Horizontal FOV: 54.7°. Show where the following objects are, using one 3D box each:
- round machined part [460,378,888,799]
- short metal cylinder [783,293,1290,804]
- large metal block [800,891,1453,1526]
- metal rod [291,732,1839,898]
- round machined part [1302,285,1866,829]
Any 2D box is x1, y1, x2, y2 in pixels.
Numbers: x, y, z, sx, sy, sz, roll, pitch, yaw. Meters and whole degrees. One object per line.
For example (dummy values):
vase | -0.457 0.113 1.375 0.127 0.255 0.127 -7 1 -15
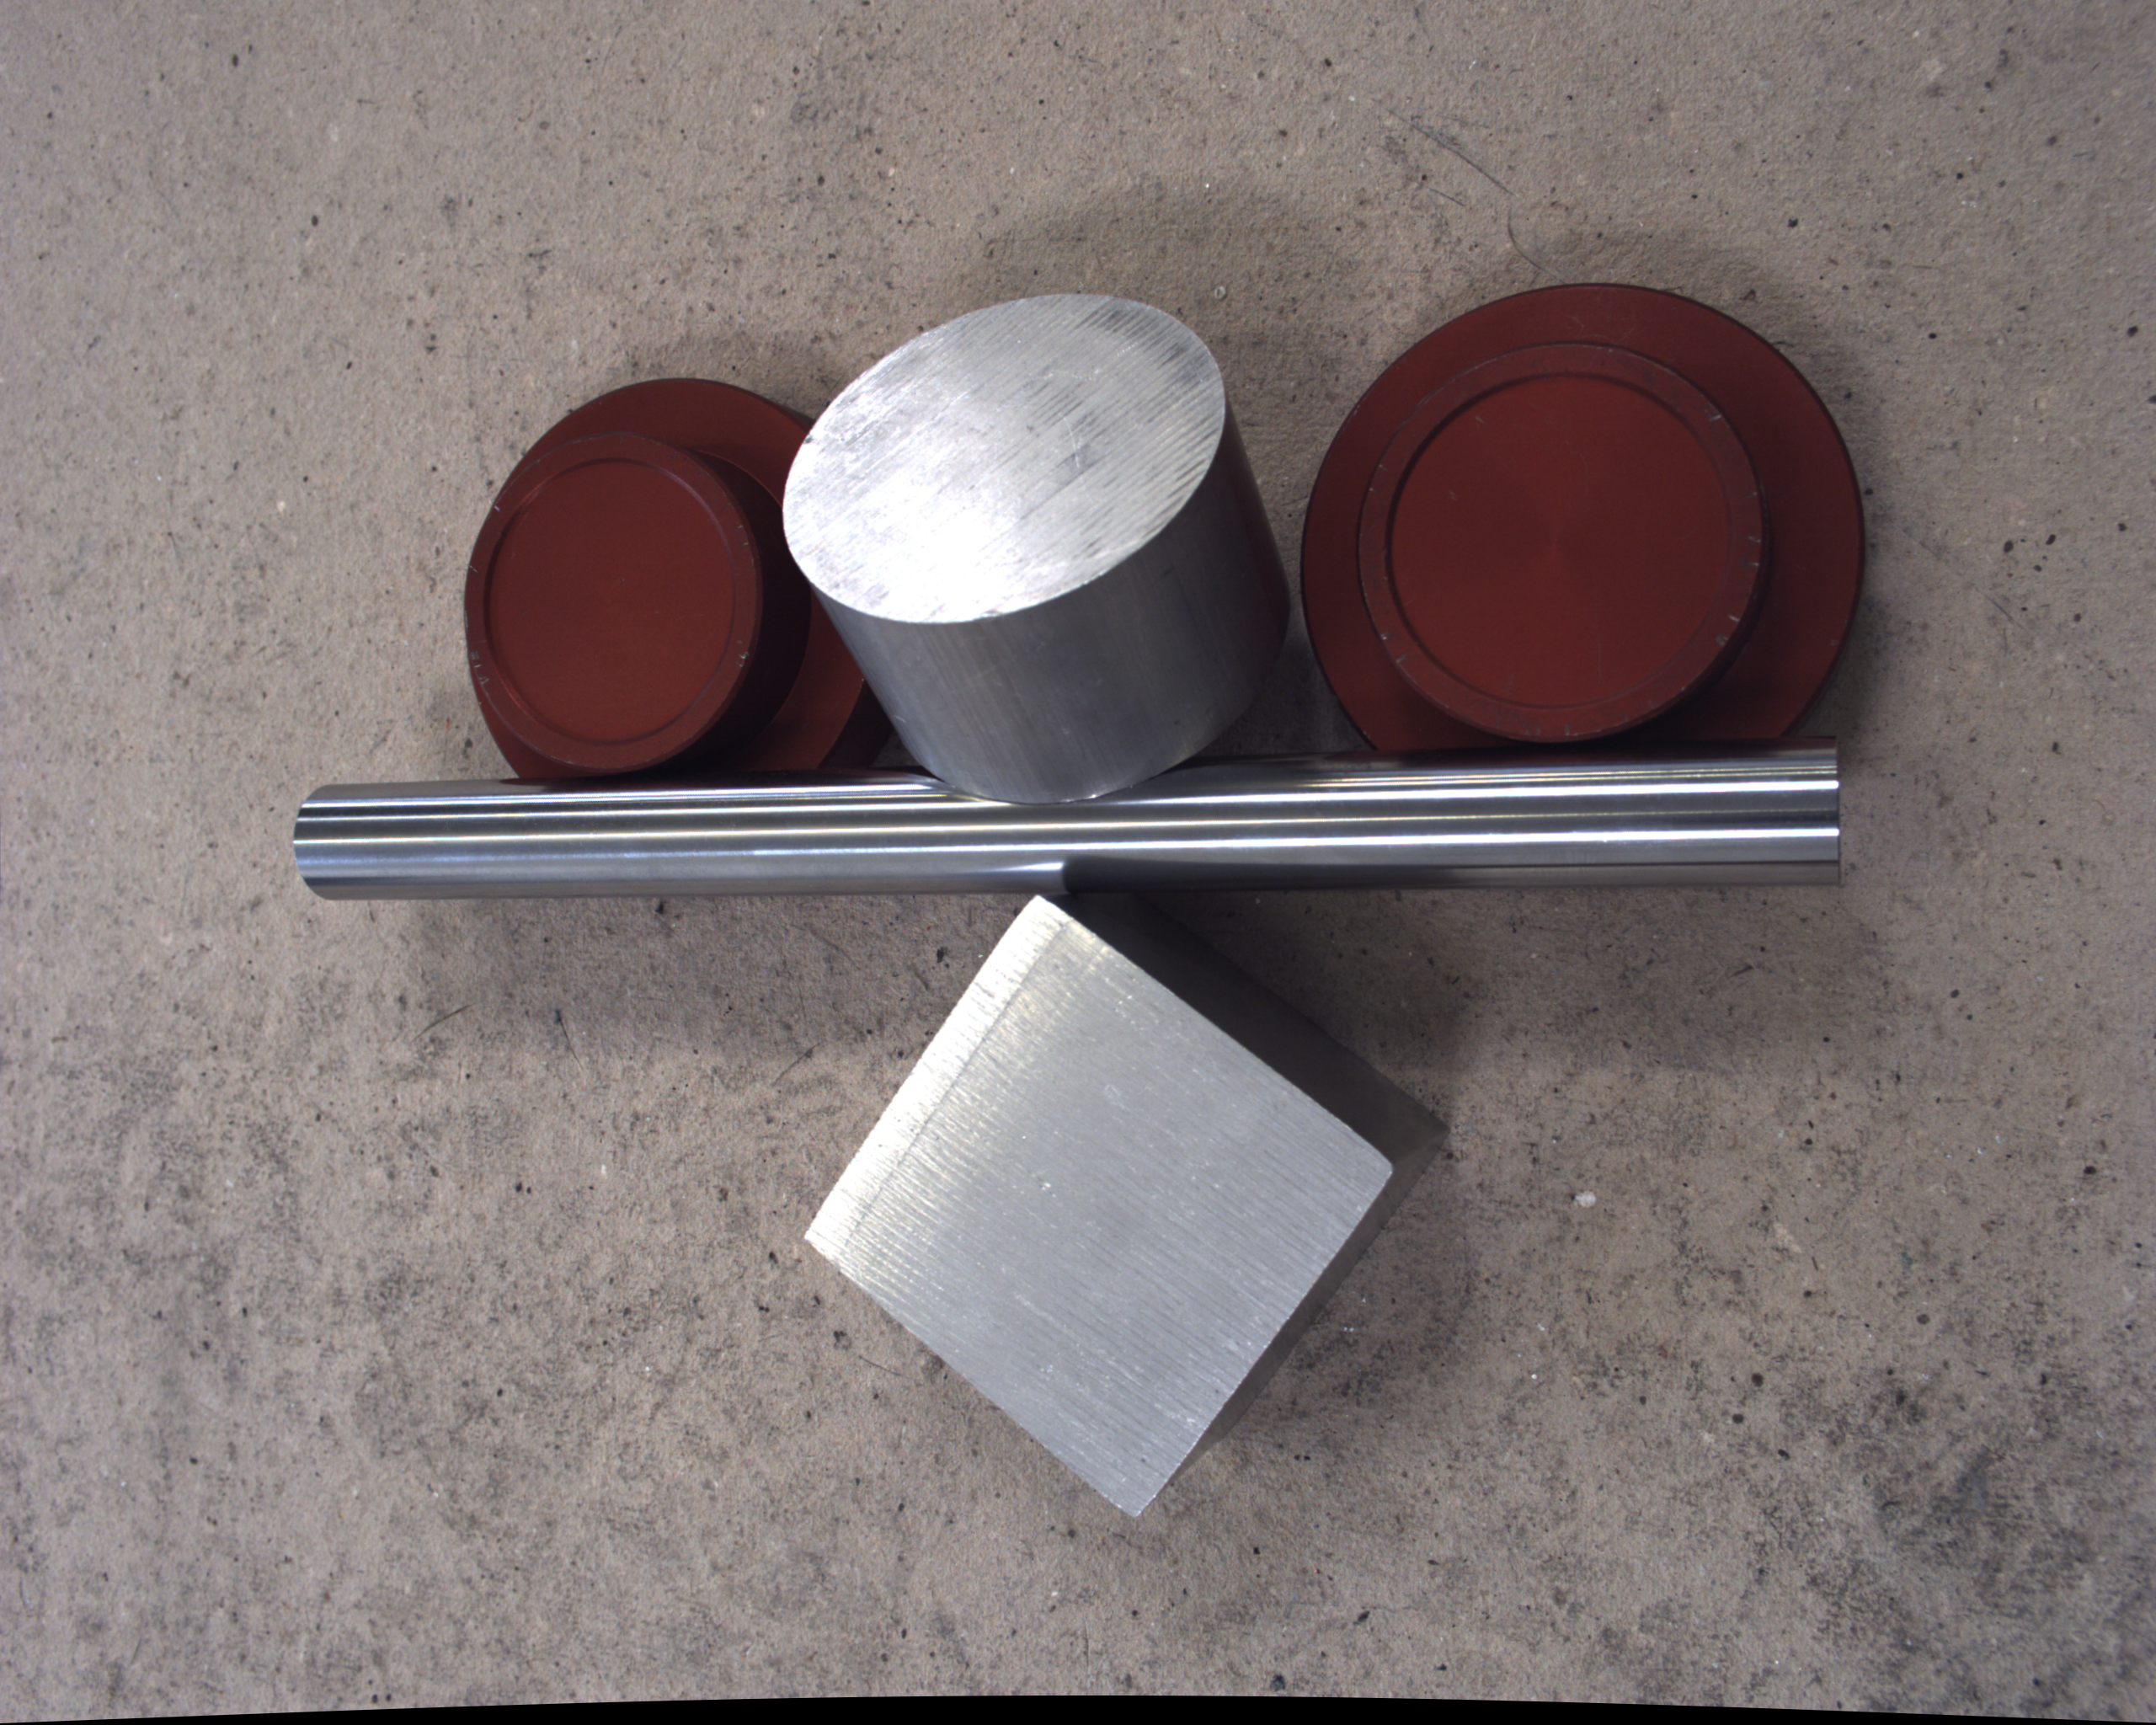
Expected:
round machined part | -0.086 -0.052 0.431 0.098 0.042 0.097 0 90 20
short metal cylinder | -0.006 -0.057 0.379 0.080 0.050 0.080 -10 52 13
large metal block | 0.010 0.060 0.391 0.080 0.050 0.080 37 102 16
metal rod | -0.017 -0.007 0.393 0.301 0.025 0.025 -1 90 19
round machined part | 0.088 -0.054 0.370 0.098 0.042 0.097 0 90 20
